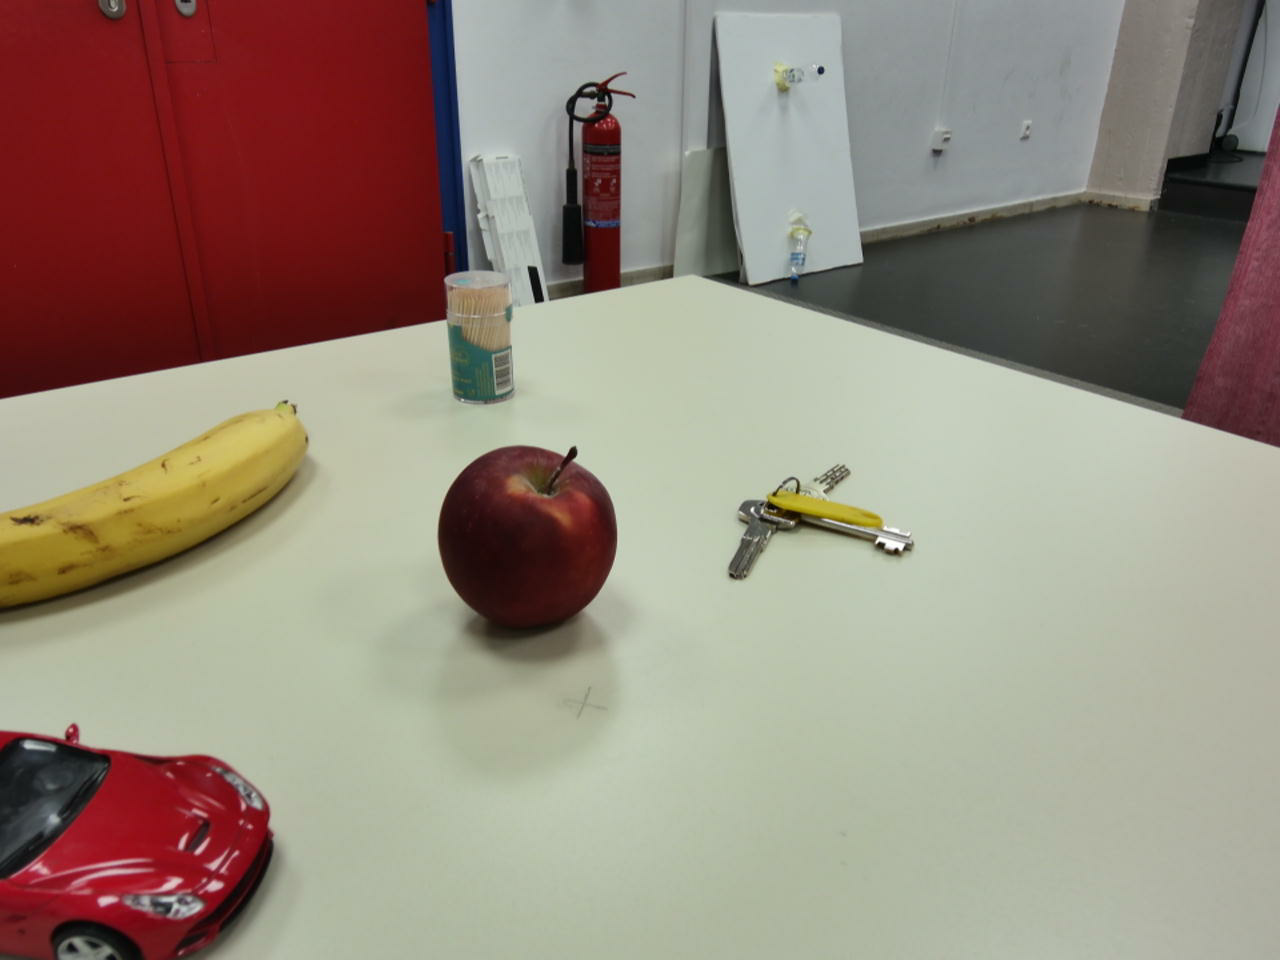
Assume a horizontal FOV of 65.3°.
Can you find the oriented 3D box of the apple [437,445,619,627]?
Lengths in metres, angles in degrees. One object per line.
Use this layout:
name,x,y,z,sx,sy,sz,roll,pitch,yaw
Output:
apple,-0.044,0.022,0.391,0.070,0.072,0.070,0,23,0
